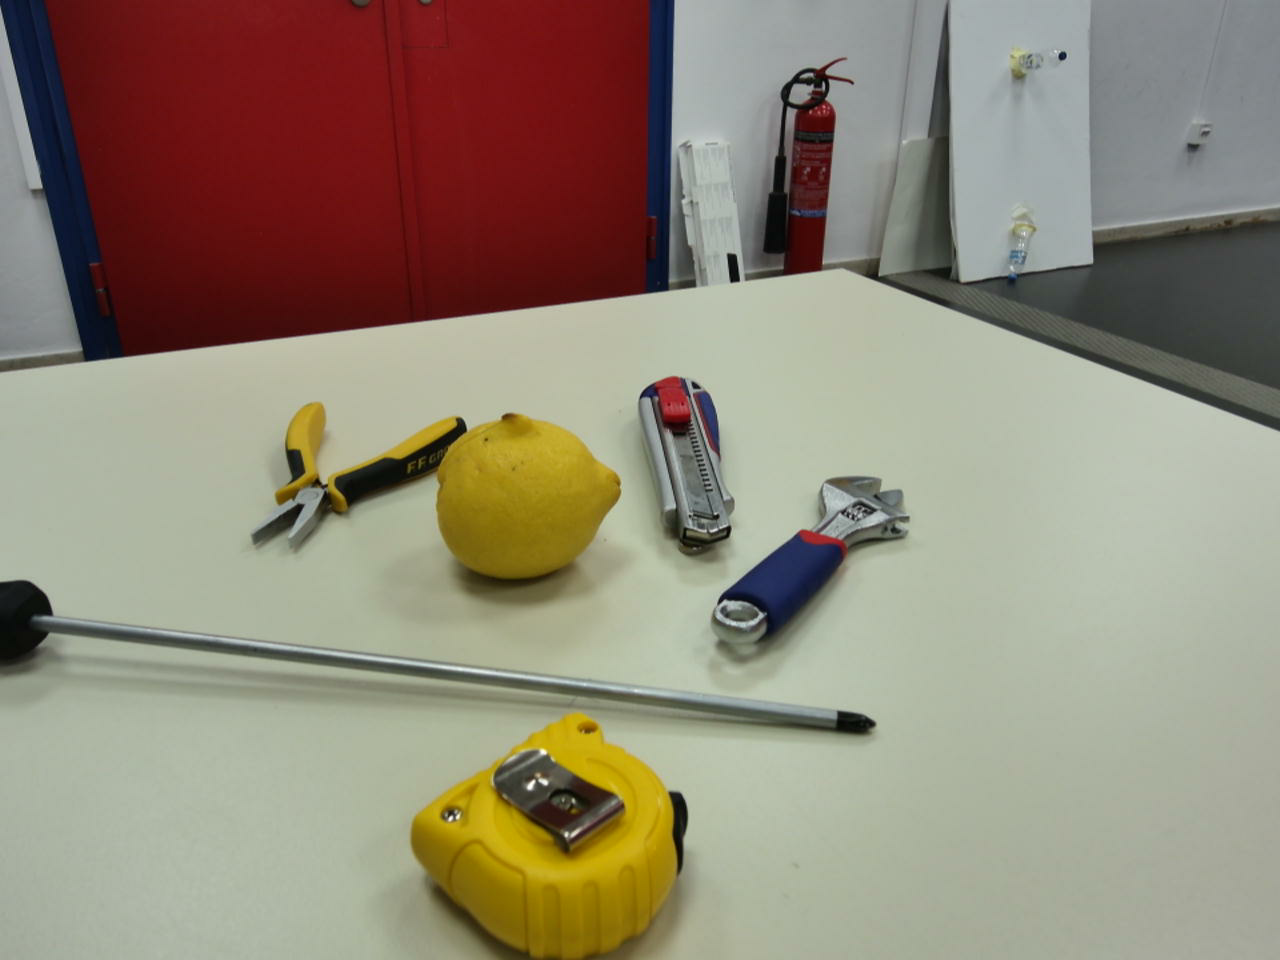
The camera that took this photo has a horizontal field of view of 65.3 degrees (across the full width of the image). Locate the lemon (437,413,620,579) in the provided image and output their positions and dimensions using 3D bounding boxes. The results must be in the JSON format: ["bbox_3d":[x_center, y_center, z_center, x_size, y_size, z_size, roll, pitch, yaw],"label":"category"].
[{"bbox_3d":[-0.051,0.004,0.416,0.071,0.071,0.070,12,27,27],"label":"lemon"}]
